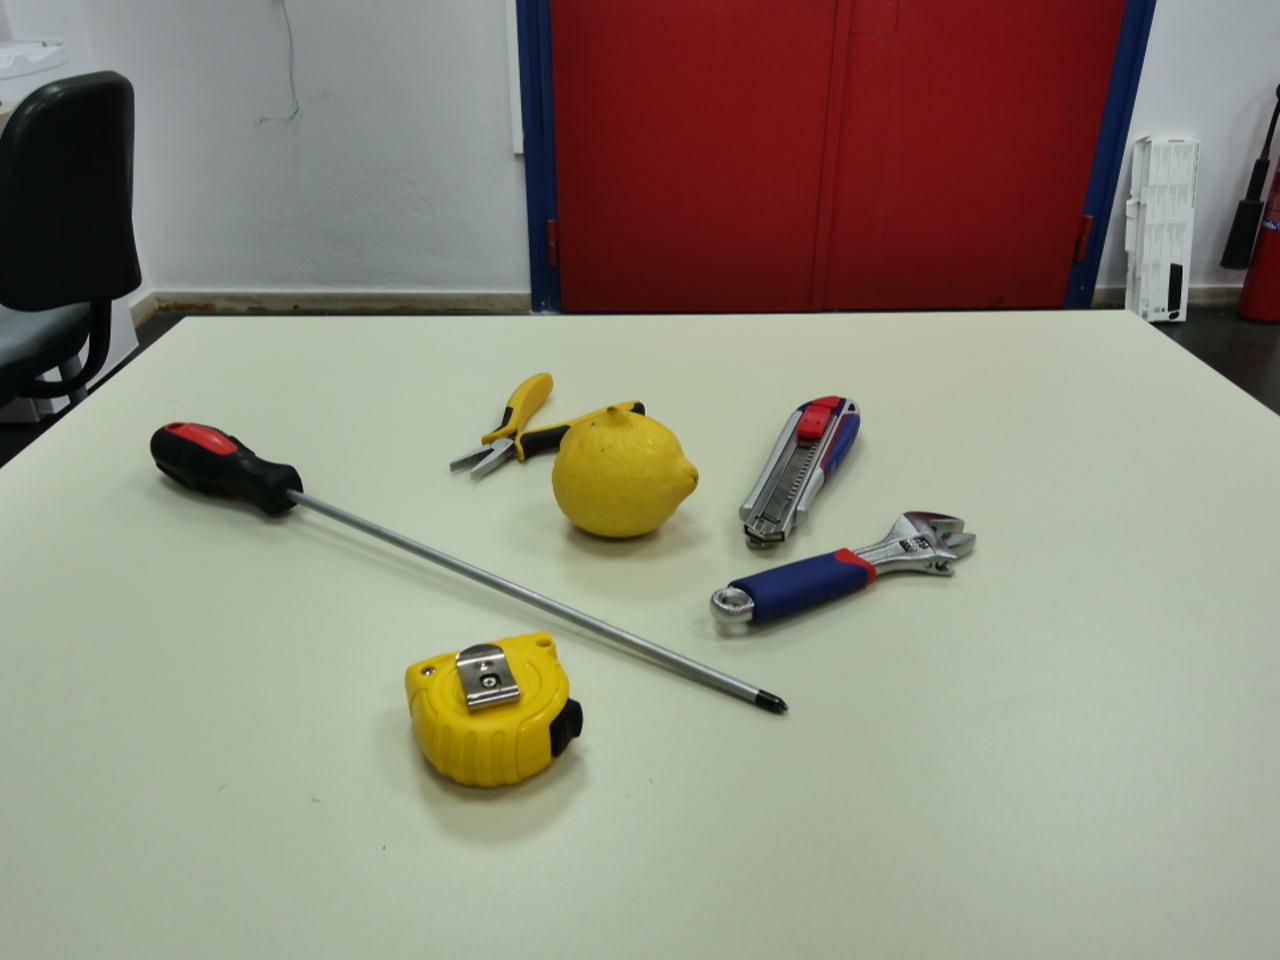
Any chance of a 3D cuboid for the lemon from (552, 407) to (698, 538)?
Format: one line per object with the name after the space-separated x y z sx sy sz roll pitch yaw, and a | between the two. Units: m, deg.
-0.011 -0.006 0.529 0.070 0.071 0.071 -18 30 -30 | lemon
